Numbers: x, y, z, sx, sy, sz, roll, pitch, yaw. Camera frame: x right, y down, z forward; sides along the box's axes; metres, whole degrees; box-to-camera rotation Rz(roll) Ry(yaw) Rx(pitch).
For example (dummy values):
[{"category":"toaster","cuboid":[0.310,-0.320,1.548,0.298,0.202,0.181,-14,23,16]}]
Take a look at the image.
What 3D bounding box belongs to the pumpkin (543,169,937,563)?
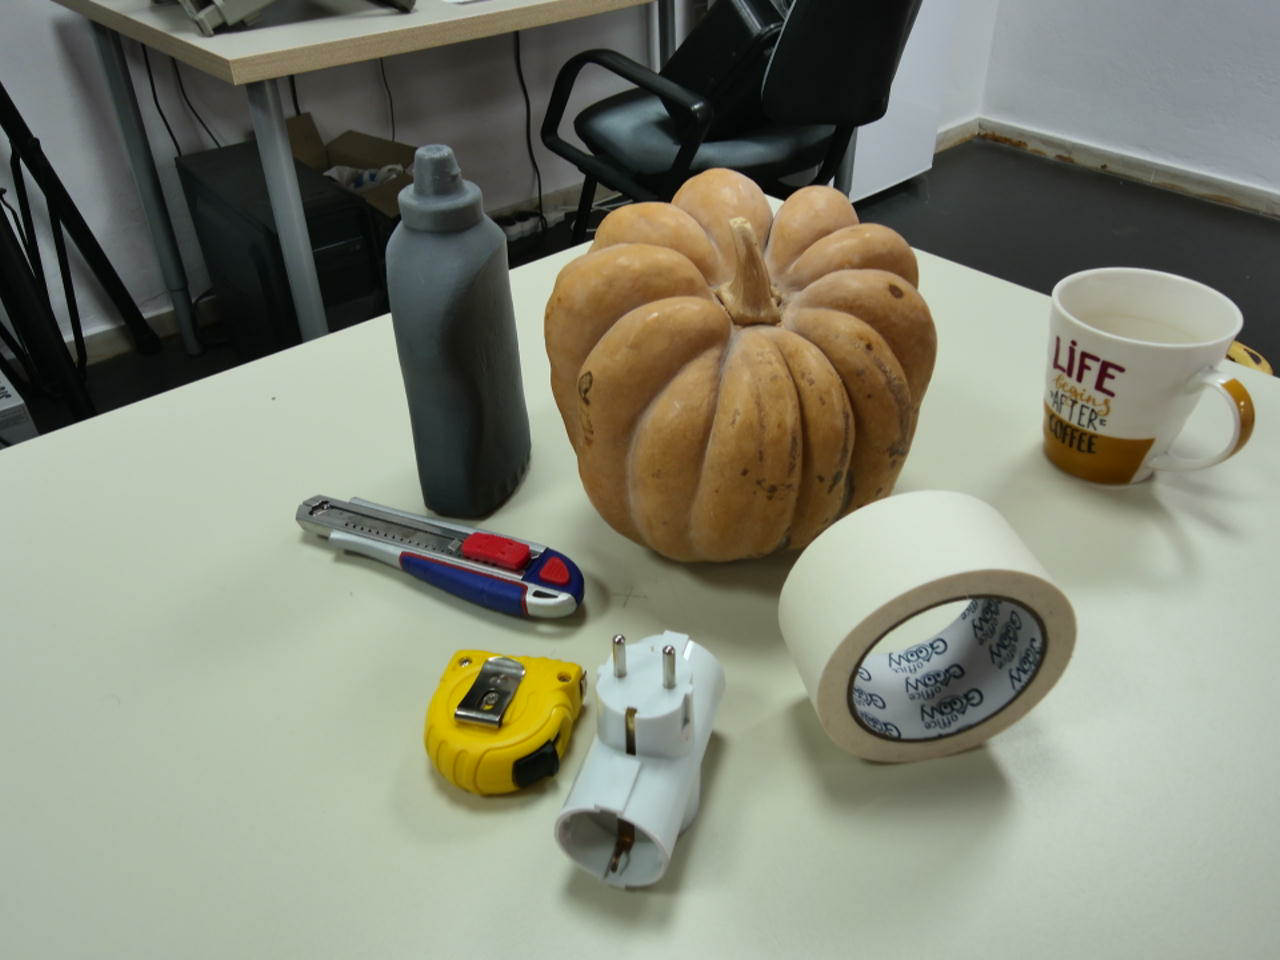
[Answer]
[{"category":"pumpkin","cuboid":[0.049,-0.053,0.508,0.199,0.177,0.198,-1,36,1]}]
